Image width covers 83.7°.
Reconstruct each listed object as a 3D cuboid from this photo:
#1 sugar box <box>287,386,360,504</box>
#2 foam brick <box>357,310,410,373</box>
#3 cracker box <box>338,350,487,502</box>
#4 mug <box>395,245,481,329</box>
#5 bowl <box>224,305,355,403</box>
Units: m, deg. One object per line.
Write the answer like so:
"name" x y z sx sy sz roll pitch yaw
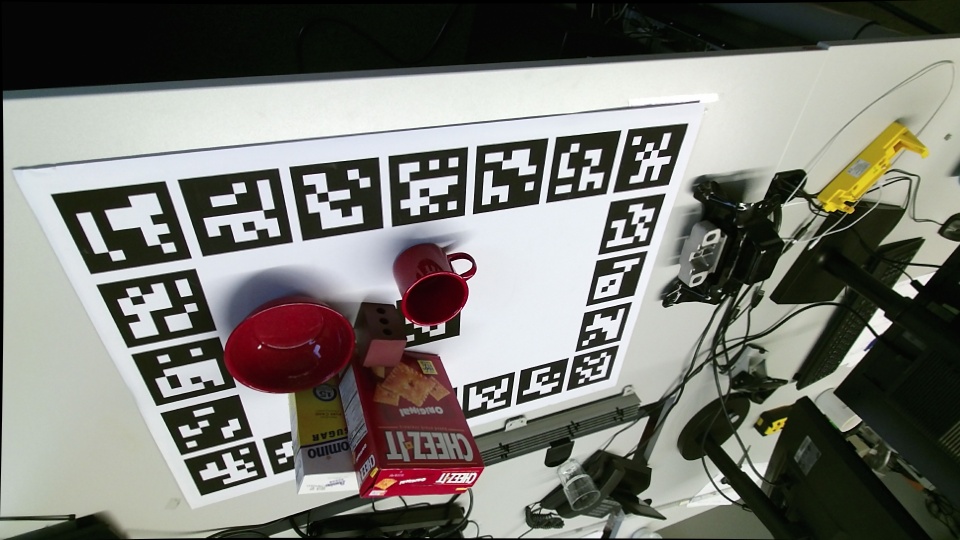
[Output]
"sugar box" -0.212 0.241 0.758 0.093 0.176 0.045 8 121 -32
"foam brick" -0.138 0.101 0.760 0.053 0.078 0.051 2 124 -29
"cracker box" -0.102 0.220 0.773 0.165 0.213 0.072 17 118 -34
"mug" -0.054 0.017 0.724 0.117 0.081 0.093 -19 139 -14
"bowl" -0.250 0.100 0.700 0.162 0.055 0.162 -13 129 -17
